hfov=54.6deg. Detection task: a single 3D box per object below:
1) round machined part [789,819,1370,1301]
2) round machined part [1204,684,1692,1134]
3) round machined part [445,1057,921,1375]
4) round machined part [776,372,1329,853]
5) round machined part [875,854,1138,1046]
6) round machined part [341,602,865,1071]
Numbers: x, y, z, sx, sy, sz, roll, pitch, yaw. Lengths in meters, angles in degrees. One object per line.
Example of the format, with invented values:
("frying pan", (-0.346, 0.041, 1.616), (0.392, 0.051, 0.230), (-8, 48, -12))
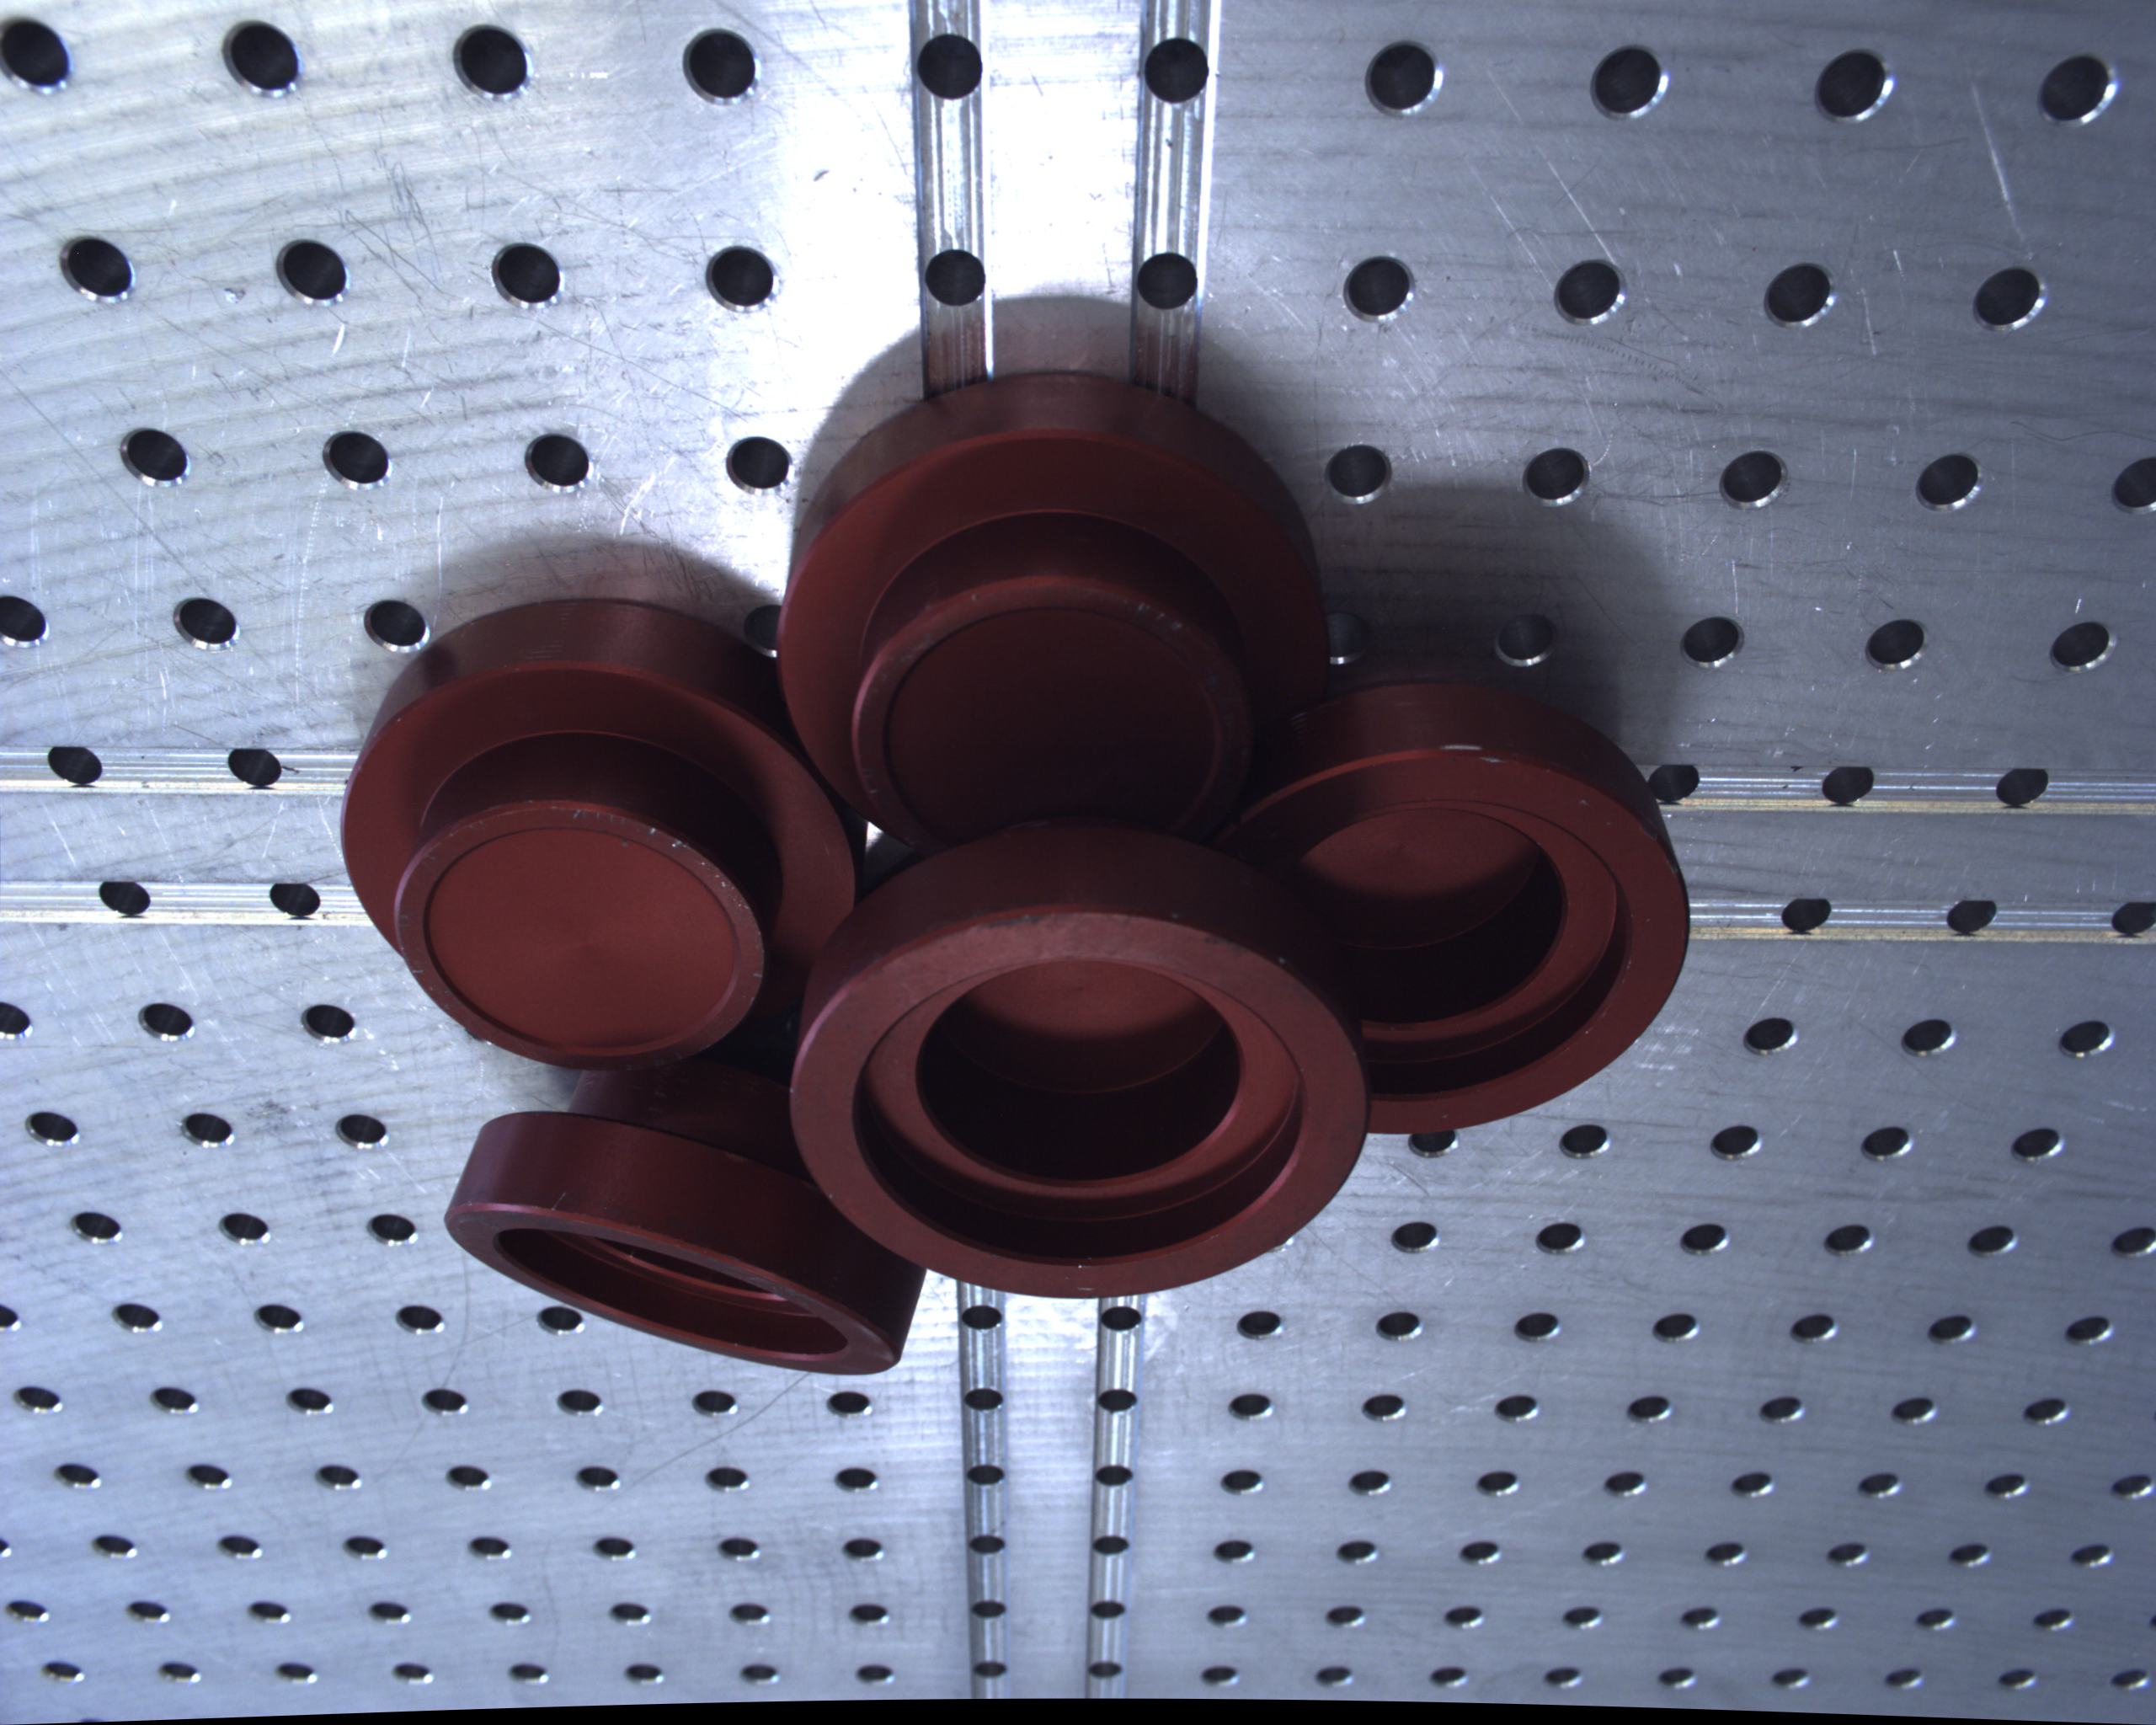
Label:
("round machined part", (0.000, 0.031, 0.370), (0.099, 0.042, 0.097), (0, 130, 0))
("round machined part", (0.064, 0.005, 0.404), (0.099, 0.042, 0.097), (0, 130, 0))
("round machined part", (-0.079, 0.073, 0.444), (0.098, 0.042, 0.098), (12, 154, 6))
("round machined part", (-0.004, -0.034, 0.372), (0.099, 0.042, 0.097), (0, 130, 0))
("round machined part", (-0.004, 0.041, 0.435), (0.099, 0.042, 0.097), (0, 130, 0))
("round machined part", (-0.091, 0.002, 0.401), (0.099, 0.042, 0.097), (0, 130, 0))
